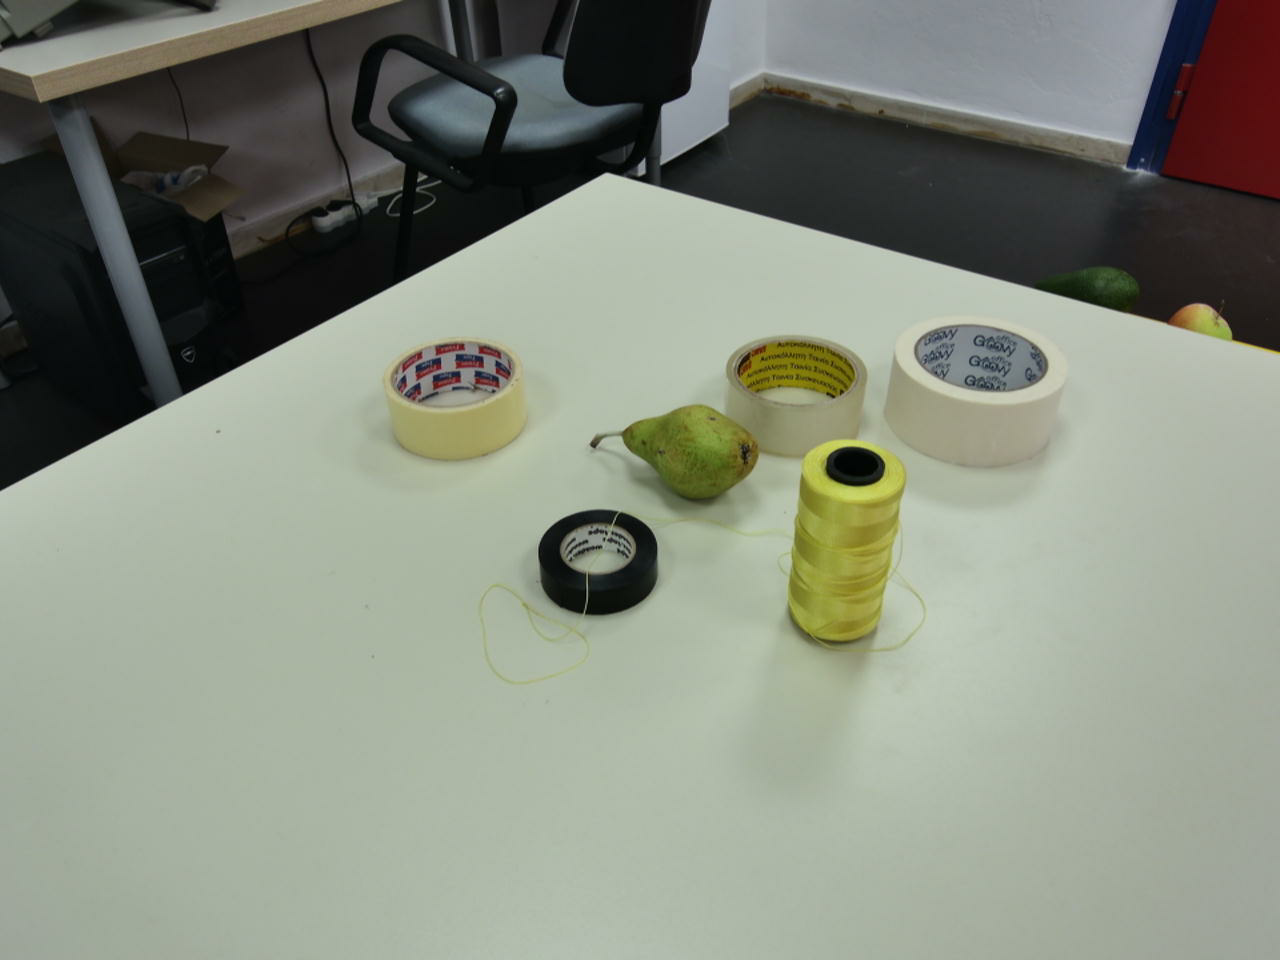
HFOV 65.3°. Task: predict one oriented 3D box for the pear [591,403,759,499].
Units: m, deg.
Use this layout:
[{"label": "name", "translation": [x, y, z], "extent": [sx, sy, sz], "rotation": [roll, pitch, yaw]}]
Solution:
[{"label": "pear", "translation": [0.023, -0.025, 0.610], "extent": [0.056, 0.056, 0.111], "rotation": [-26, 44, -29]}]
